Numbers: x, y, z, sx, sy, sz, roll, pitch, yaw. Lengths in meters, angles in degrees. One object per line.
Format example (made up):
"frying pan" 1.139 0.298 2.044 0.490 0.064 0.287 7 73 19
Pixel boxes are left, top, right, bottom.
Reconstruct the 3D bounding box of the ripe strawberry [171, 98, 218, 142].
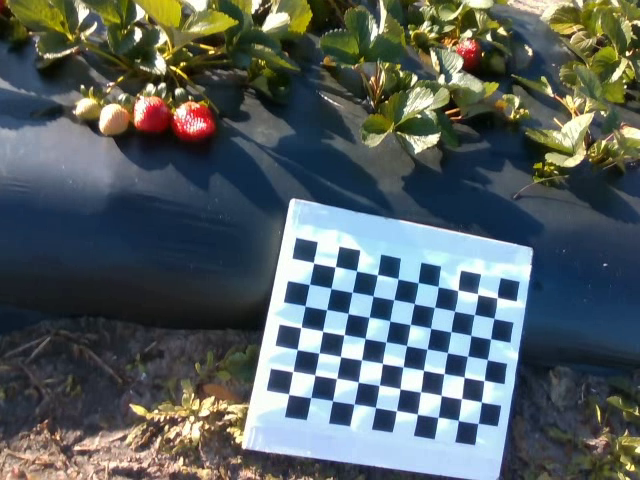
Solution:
"ripe strawberry" -0.138 -0.136 0.721 0.056 0.052 0.067 -40 39 -13

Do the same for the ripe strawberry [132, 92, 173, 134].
"ripe strawberry" -0.191 -0.144 0.717 0.050 0.044 0.061 36 34 -8
